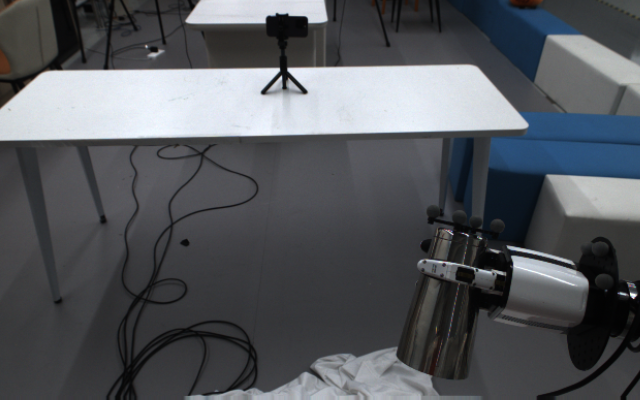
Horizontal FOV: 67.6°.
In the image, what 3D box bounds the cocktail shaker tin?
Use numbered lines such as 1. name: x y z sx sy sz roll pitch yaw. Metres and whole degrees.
1. cocktail shaker tin: 0.164 0.122 0.613 0.093 0.170 0.093 13 1 0
